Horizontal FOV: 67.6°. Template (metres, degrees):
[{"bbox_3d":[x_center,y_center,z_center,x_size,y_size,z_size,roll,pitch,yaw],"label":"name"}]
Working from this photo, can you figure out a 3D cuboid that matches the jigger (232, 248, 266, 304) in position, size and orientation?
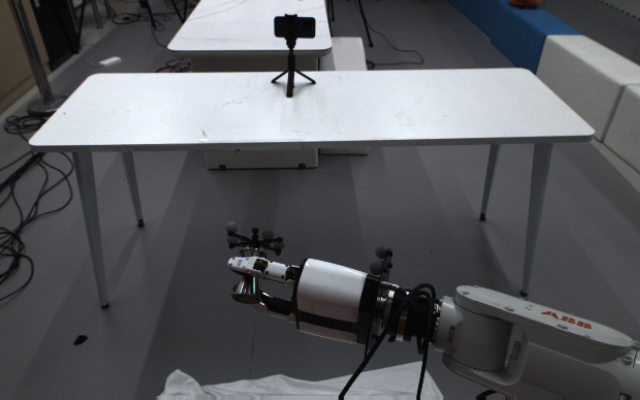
[{"bbox_3d":[-0.099,0.104,0.676,0.043,0.043,0.071,4,60,3],"label":"jigger"}]
